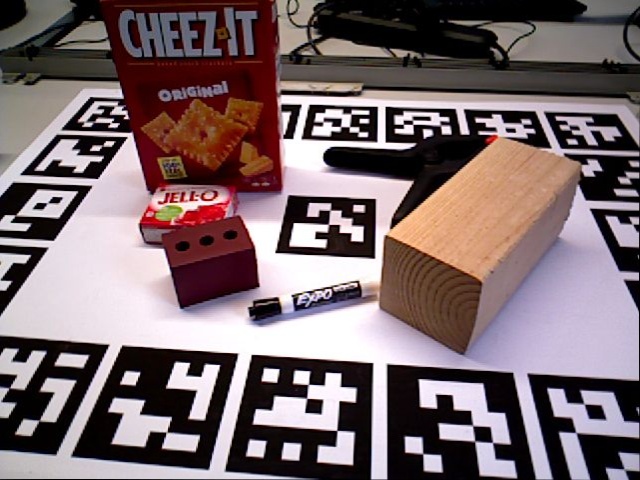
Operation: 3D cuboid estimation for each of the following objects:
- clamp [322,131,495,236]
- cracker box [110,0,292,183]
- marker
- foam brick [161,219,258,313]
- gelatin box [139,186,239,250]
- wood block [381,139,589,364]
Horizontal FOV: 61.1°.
[{"bbox_3d":[0.126,-0.085,0.616,0.200,0.037,0.164,-19,46,-17],"label":"clamp"},{"bbox_3d":[-0.113,-0.164,0.571,0.163,0.218,0.070,2,42,1],"label":"cracker box"},{"bbox_3d":[-0.014,0.058,0.478,0.120,0.020,0.019,-11,45,-9],"label":"marker"},{"bbox_3d":[-0.101,0.023,0.498,0.077,0.052,0.052,-14,46,-13],"label":"foam brick"},{"bbox_3d":[-0.135,-0.024,0.569,0.089,0.031,0.072,2,44,4],"label":"gelatin box"},{"bbox_3d":[0.152,-0.001,0.489,0.090,0.093,0.201,28,48,31],"label":"wood block"}]
